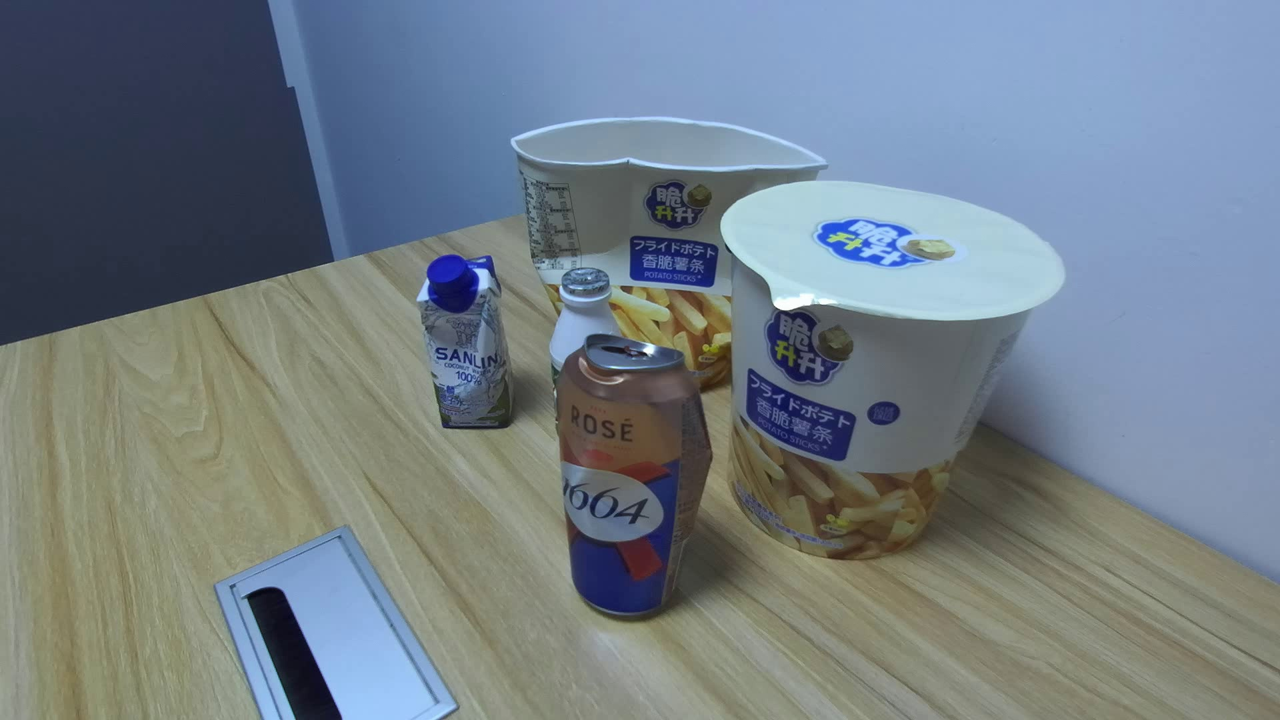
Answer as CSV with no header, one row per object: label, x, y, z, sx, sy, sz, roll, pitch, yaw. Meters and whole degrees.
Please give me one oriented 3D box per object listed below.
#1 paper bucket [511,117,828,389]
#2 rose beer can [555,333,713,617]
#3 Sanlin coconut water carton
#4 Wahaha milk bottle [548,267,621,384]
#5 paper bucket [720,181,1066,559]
paper bucket,0.020,-0.088,0.591,0.218,0.199,0.147,-13,37,-20
rose beer can,-0.007,0.067,0.396,0.069,0.168,0.069,-10,32,-20
Sanlin coconut water carton,-0.132,-0.018,0.538,0.061,0.144,0.070,0,33,1
Wahaha milk bottle,-0.035,0.005,0.496,0.053,0.147,0.053,1,38,0
paper bucket,0.140,0.009,0.459,0.198,0.195,0.198,1,34,0
